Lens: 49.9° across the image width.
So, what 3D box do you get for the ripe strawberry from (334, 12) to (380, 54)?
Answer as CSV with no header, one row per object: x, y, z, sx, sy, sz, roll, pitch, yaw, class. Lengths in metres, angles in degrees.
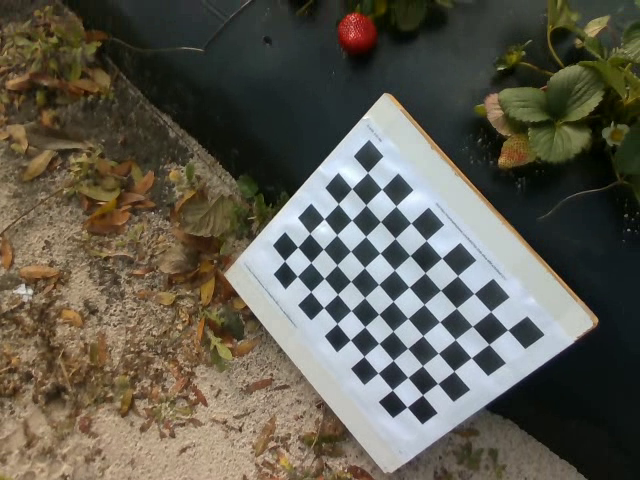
0.023,-0.148,0.504,0.038,0.033,0.039,-36,9,39,ripe strawberry
